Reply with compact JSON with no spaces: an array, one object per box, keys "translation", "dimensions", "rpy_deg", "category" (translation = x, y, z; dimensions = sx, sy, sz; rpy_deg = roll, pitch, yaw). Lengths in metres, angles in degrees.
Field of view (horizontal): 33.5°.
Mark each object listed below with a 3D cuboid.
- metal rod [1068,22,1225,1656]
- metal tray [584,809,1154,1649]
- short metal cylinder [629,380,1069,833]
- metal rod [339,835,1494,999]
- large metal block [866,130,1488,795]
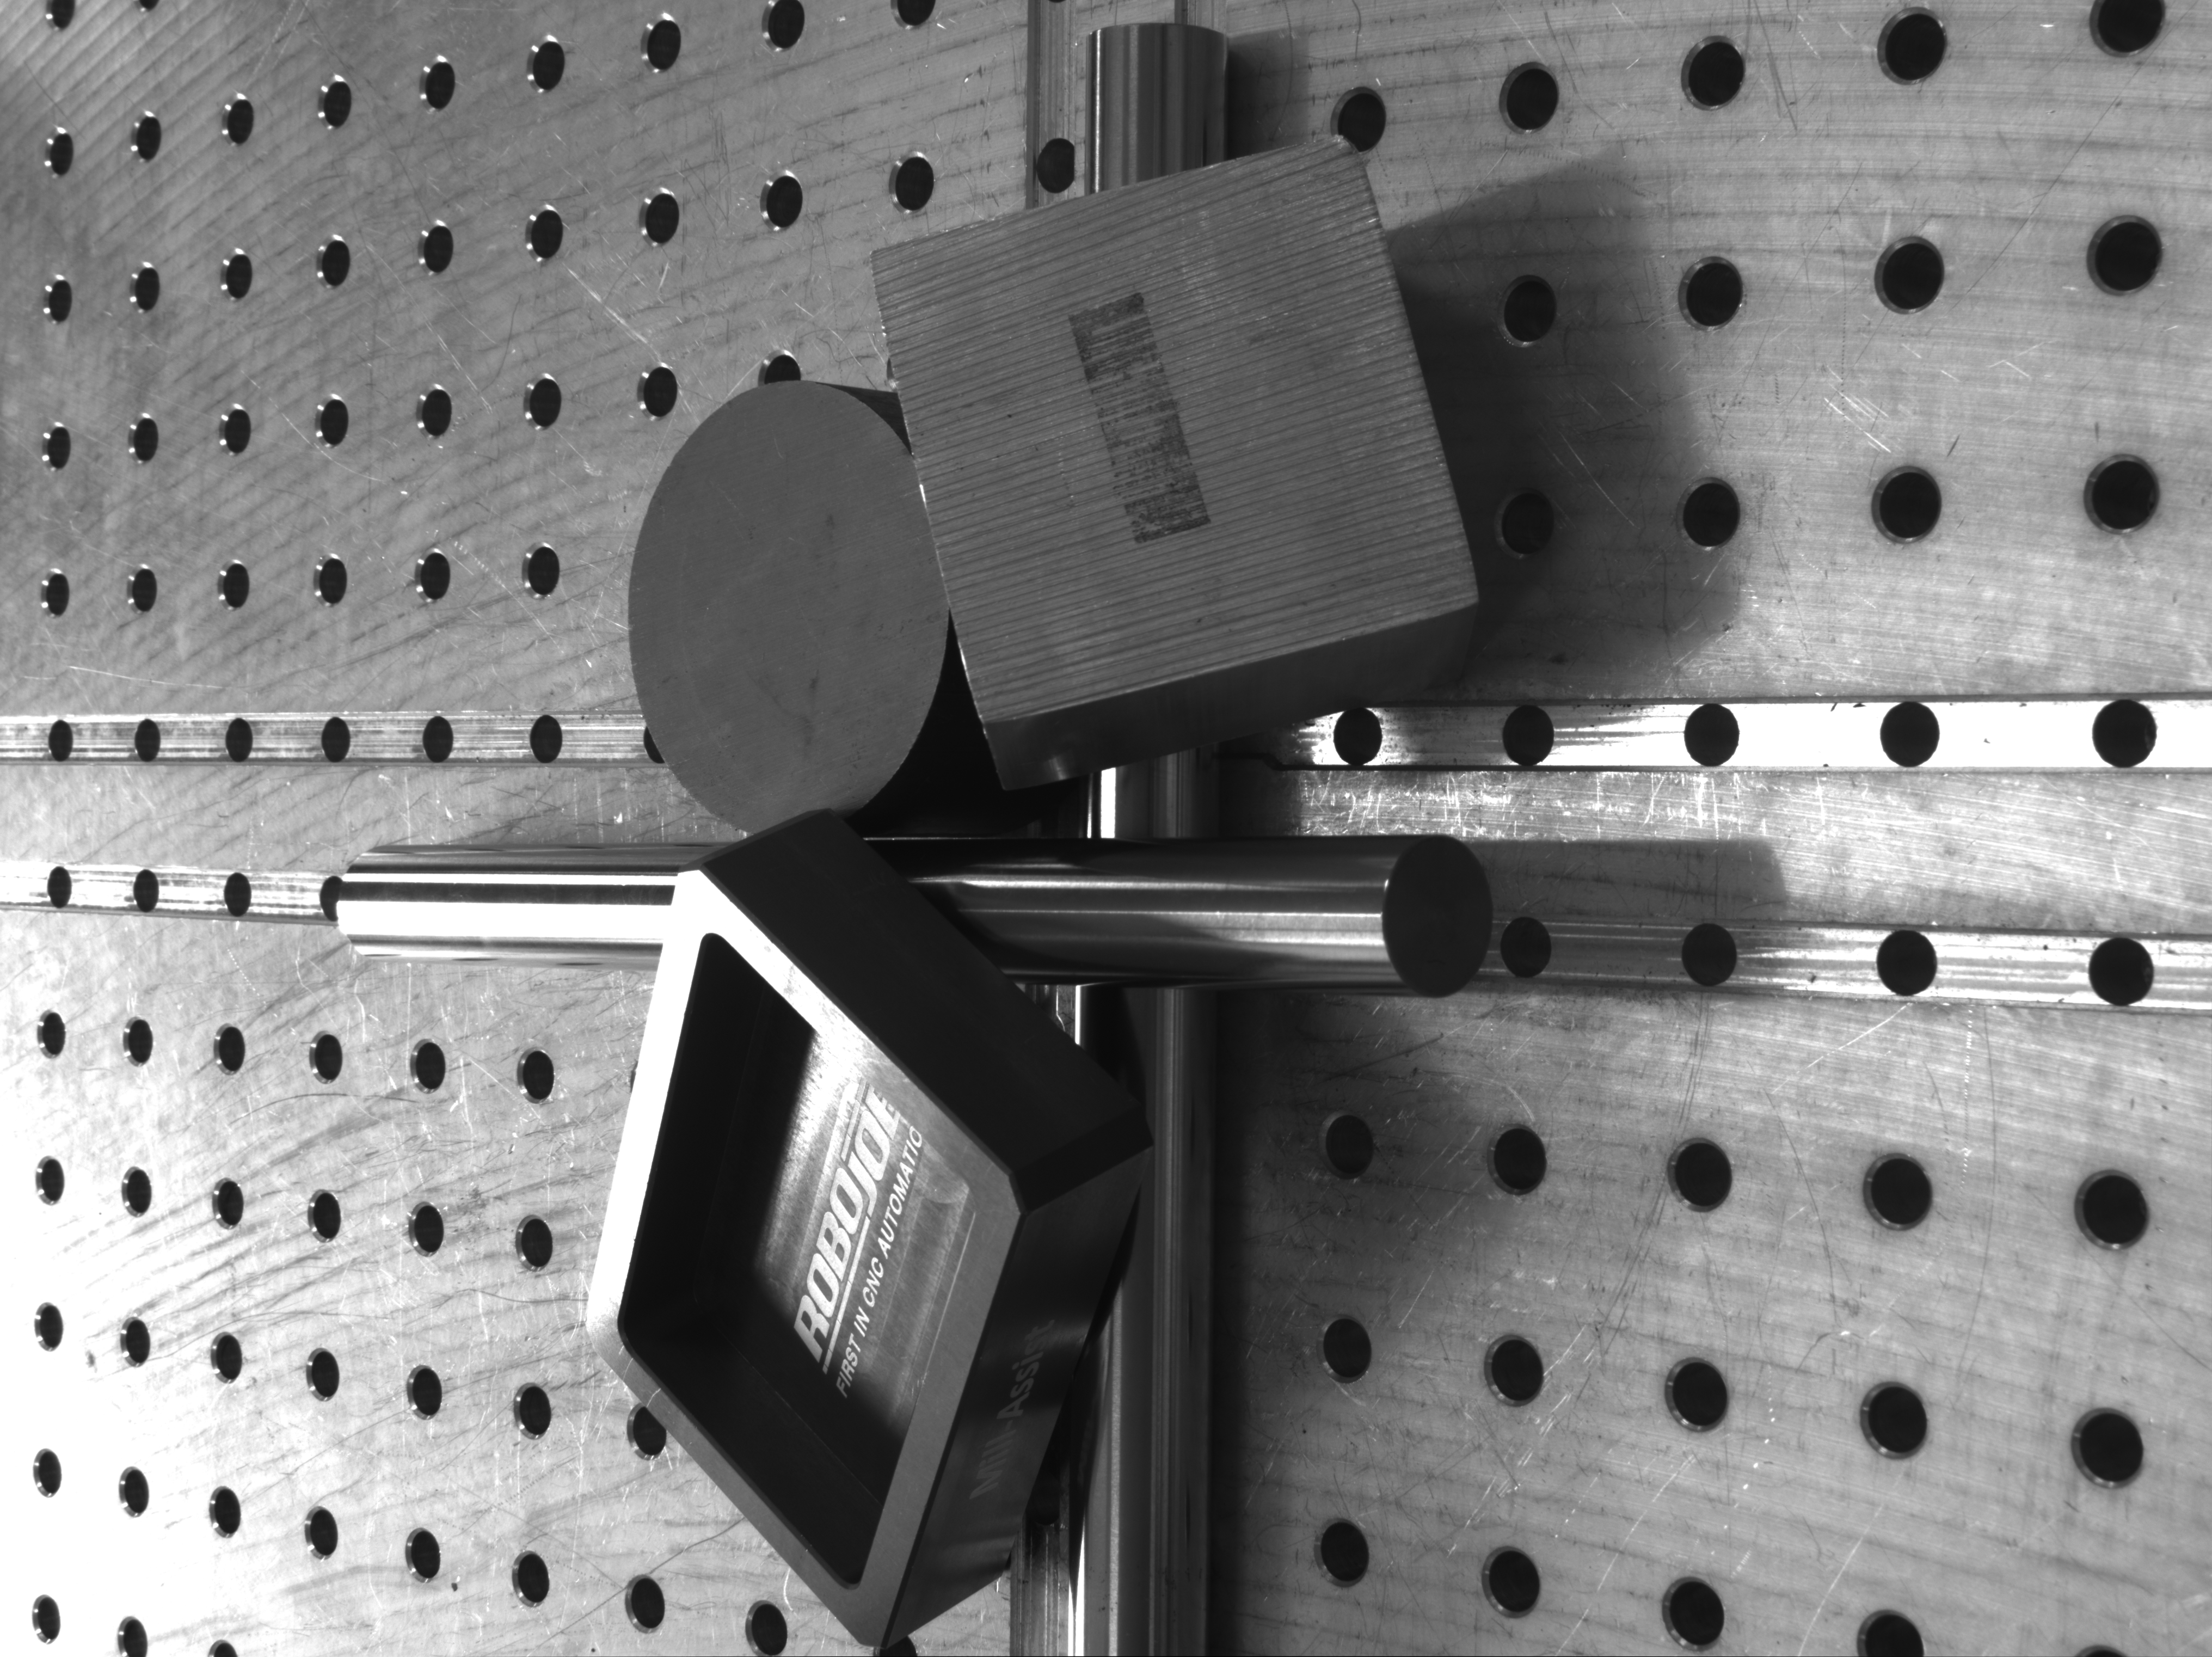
[{"translation":[0.007,0.012,0.643],"dimensions":[0.025,0.025,0.300],"rpy_deg":[1,91,40],"category":"metal rod"},{"translation":[-0.046,0.072,0.650],"dimensions":[0.090,0.030,0.130],"rpy_deg":[42,137,26],"category":"metal tray"},{"translation":[-0.041,-0.039,0.666],"dimensions":[0.080,0.050,0.080],"rpy_deg":[0,90,40],"category":"short metal cylinder"},{"translation":[-0.050,0.015,0.670],"dimensions":[0.299,0.025,0.025],"rpy_deg":[-1,89,47],"category":"metal rod"},{"translation":[0.011,-0.058,0.597],"dimensions":[0.080,0.050,0.080],"rpy_deg":[-14,79,-1],"category":"large metal block"}]
